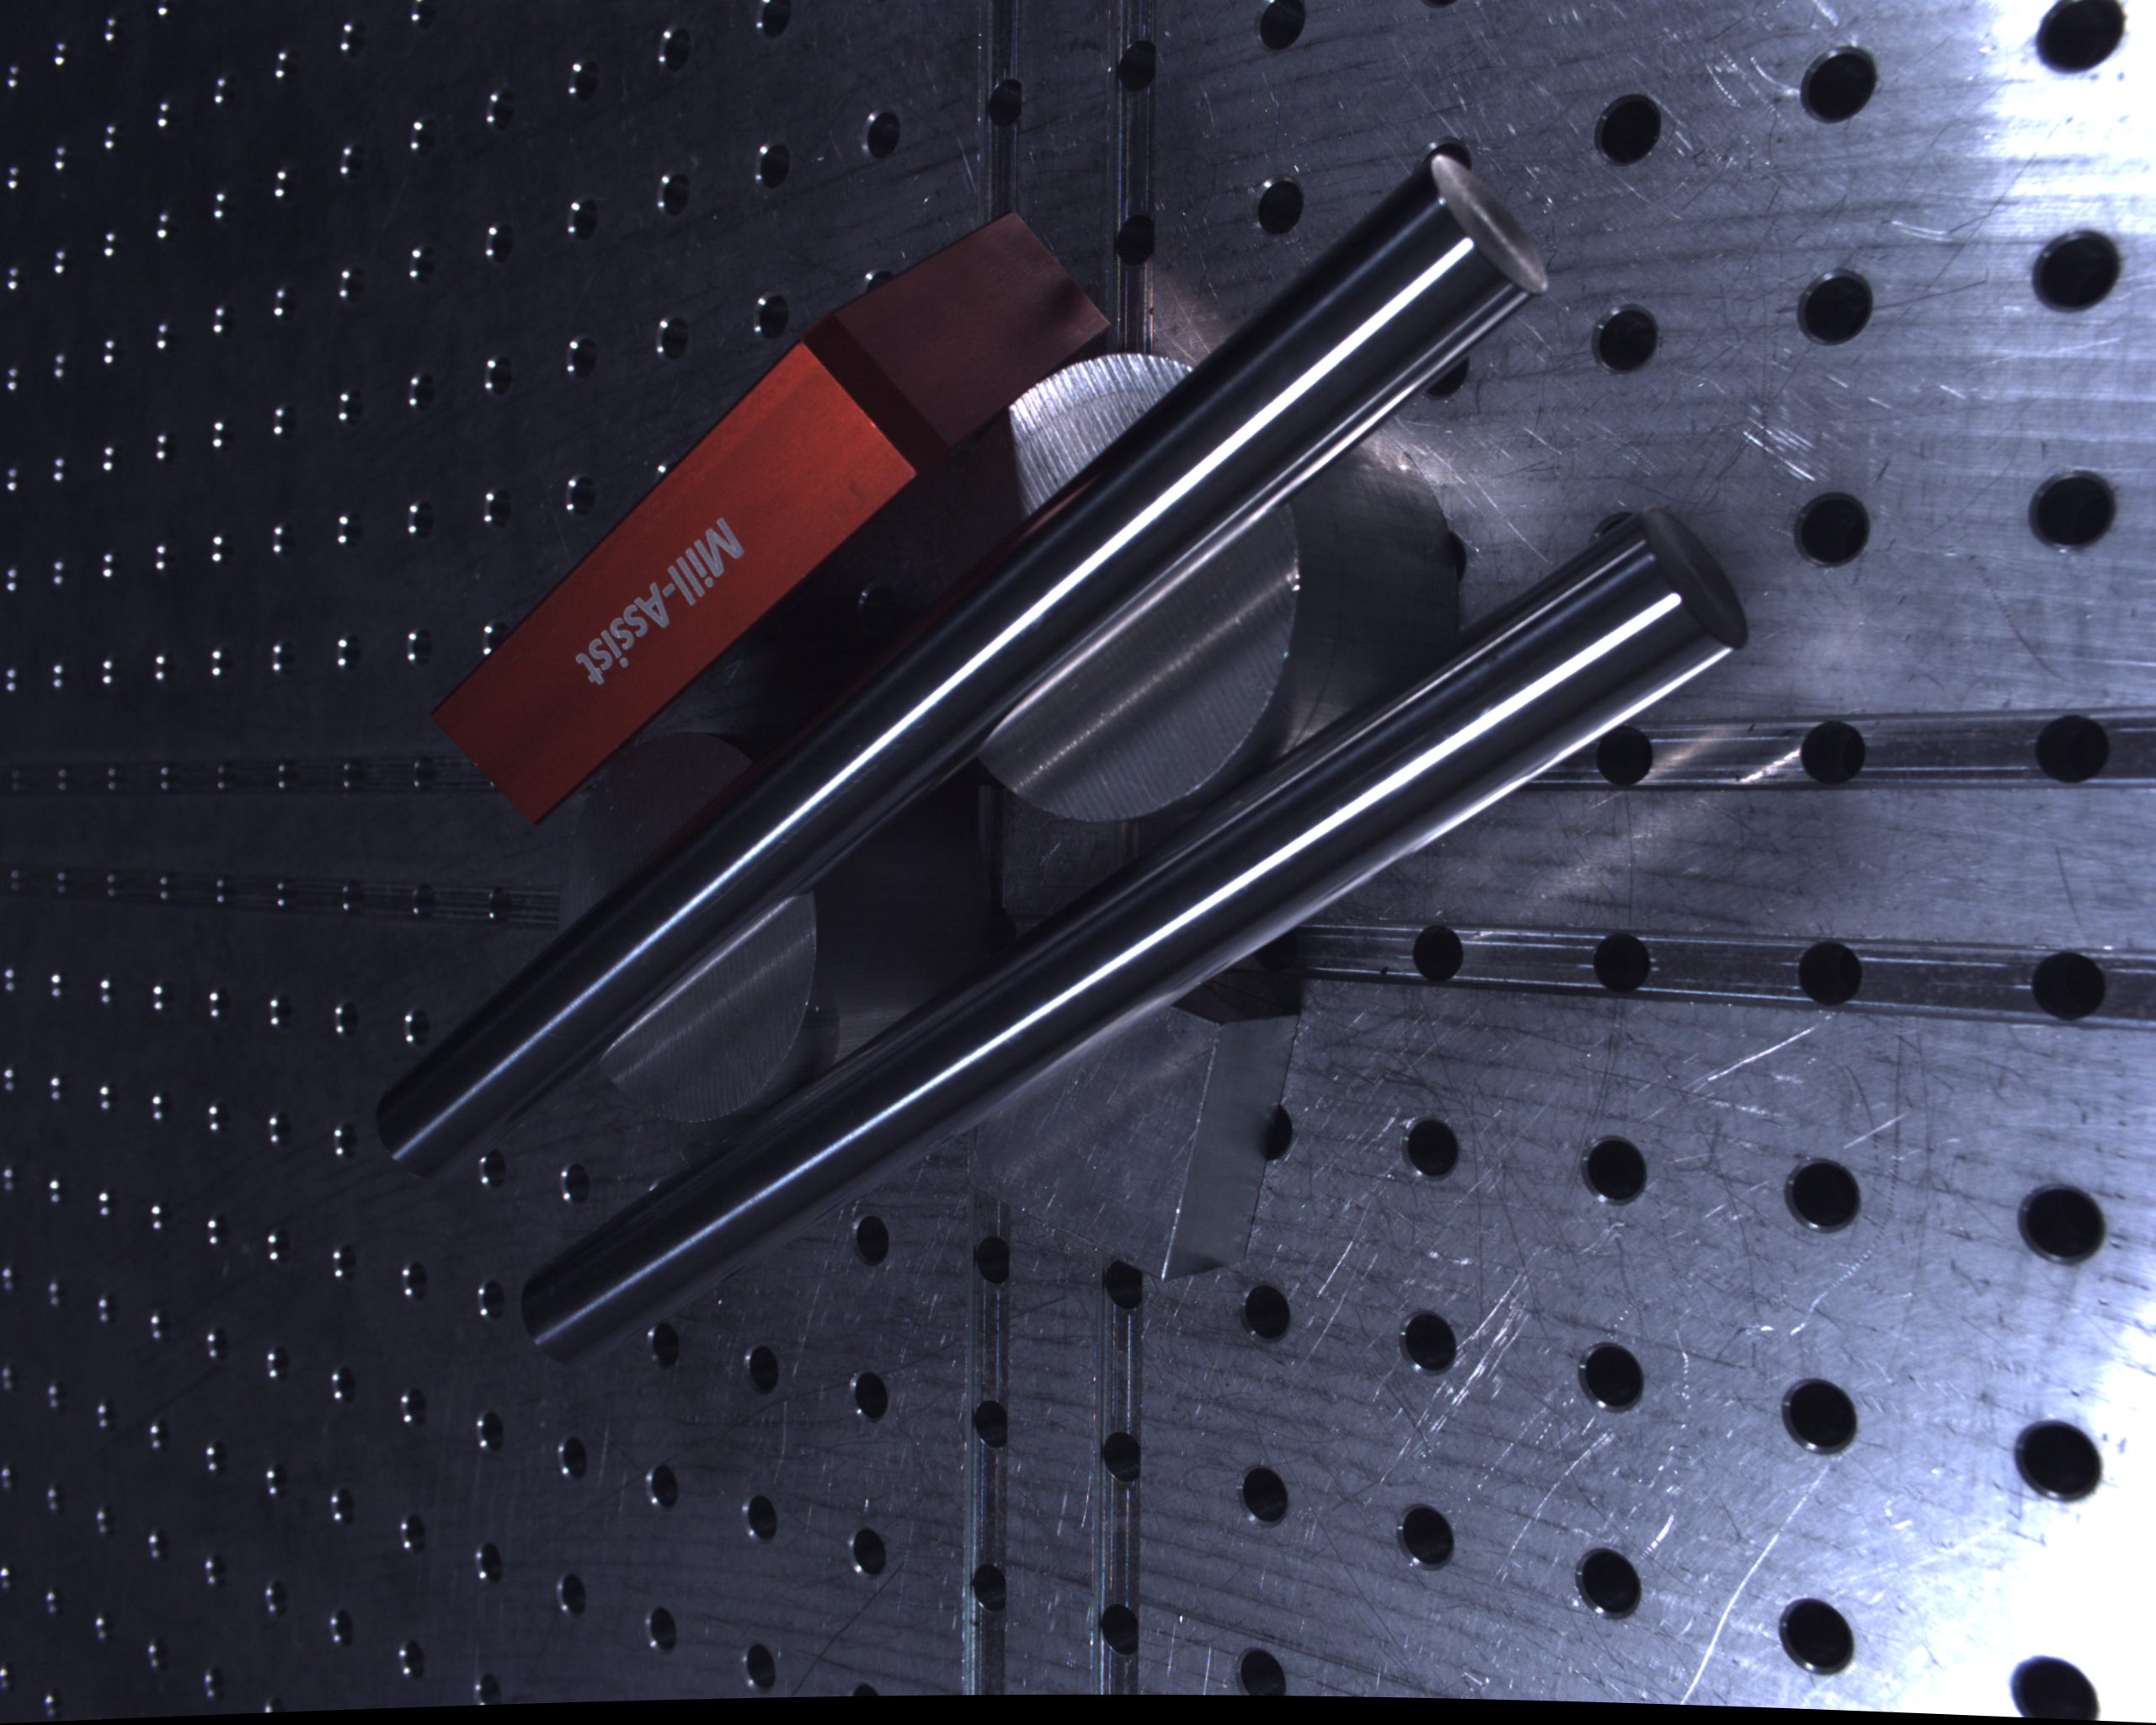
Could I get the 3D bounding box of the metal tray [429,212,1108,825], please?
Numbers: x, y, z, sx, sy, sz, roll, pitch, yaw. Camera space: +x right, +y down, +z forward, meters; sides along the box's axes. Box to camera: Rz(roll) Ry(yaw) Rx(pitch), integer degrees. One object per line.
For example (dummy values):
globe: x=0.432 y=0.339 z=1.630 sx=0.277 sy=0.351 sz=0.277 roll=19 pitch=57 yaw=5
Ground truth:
metal tray: x=-0.061 y=-0.067 z=0.413 sx=0.130 sy=0.090 sz=0.030 roll=-35 pitch=100 yaw=34

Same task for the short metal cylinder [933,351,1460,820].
short metal cylinder: x=0.021 y=-0.047 z=0.375 sx=0.080 sy=0.050 sz=0.079 roll=0 pitch=90 yaw=39

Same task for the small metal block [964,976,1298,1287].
small metal block: x=0.009 y=0.046 z=0.399 sx=0.050 sy=0.025 sz=0.050 roll=19 pitch=102 yaw=38

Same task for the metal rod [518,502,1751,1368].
metal rod: x=-0.012 y=0.030 z=0.384 sx=0.299 sy=0.025 sz=0.025 roll=-35 pitch=69 yaw=34

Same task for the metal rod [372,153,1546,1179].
metal rod: x=-0.043 y=-0.016 z=0.376 sx=0.299 sy=0.025 sz=0.025 roll=-36 pitch=68 yaw=33

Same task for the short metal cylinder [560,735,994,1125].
short metal cylinder: x=-0.065 y=0.014 z=0.444 sx=0.080 sy=0.050 sz=0.079 roll=0 pitch=90 yaw=39
